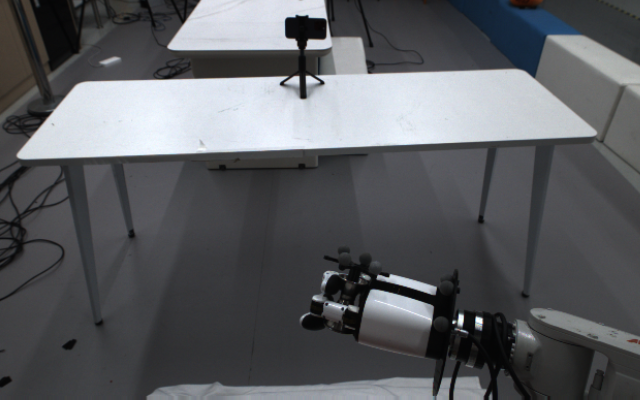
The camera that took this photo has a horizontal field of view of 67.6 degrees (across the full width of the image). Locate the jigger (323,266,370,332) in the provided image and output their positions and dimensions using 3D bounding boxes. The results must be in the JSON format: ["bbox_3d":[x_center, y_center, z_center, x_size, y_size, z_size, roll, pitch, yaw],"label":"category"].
[{"bbox_3d":[0.035,0.135,0.636,0.043,0.071,0.043,17,2,-1],"label":"jigger"}]
